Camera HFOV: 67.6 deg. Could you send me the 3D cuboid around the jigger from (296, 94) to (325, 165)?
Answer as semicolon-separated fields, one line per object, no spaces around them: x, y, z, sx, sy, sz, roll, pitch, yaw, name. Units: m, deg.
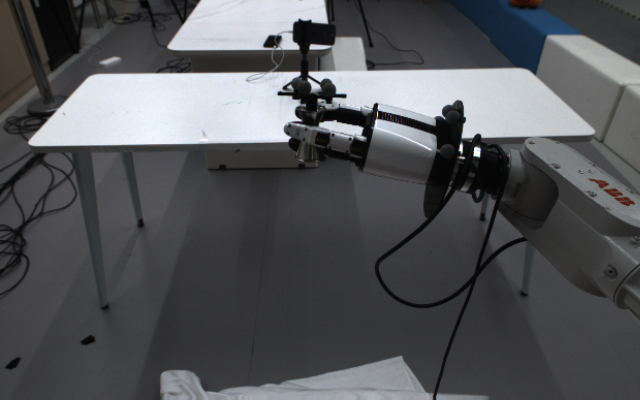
-0.013;-0.090;0.649;0.043;0.071;0.043;1;20;-1;jigger
